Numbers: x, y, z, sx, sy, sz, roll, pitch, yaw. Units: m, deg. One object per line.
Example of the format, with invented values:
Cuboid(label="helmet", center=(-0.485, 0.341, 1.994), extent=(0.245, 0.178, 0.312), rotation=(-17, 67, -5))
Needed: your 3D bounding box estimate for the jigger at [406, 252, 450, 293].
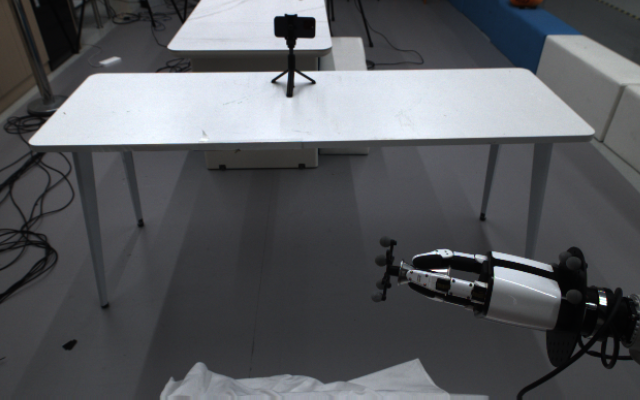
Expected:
Cuboid(label="jigger", center=(0.154, 0.104, 0.687), extent=(0.071, 0.043, 0.043), rotation=(8, 35, 15))
